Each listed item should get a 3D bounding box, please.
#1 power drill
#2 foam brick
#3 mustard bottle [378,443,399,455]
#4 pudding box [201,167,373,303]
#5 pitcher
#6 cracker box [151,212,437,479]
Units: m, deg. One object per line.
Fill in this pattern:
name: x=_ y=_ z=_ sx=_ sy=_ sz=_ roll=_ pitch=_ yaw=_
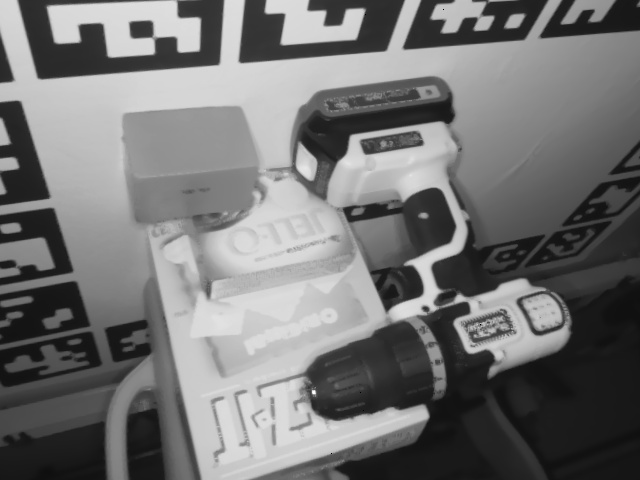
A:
power drill: x=0.064 y=0.005 z=0.475 sx=0.187 sy=0.187 sz=0.056 roll=-8 pitch=150 yaw=-19
foam brick: x=-0.078 y=-0.062 z=0.483 sx=0.079 sy=0.051 sz=0.052 roll=-7 pitch=144 yaw=-22
mustard bottle: x=0.030 y=0.109 z=0.656 sx=0.097 sy=0.192 sz=0.057 roll=1 pitch=142 yaw=-31
pudding box: x=-0.028 y=-0.006 z=0.536 sx=0.115 sy=0.090 sz=0.038 roll=-10 pitch=149 yaw=-23
pitcher: x=-0.091 y=0.136 z=0.603 sx=0.191 sy=0.243 sz=0.131 roll=-6 pitch=146 yaw=-27
cracker box: x=-0.028 y=0.066 z=0.543 sx=0.166 sy=0.214 sz=0.071 roll=-11 pitch=149 yaw=-20
